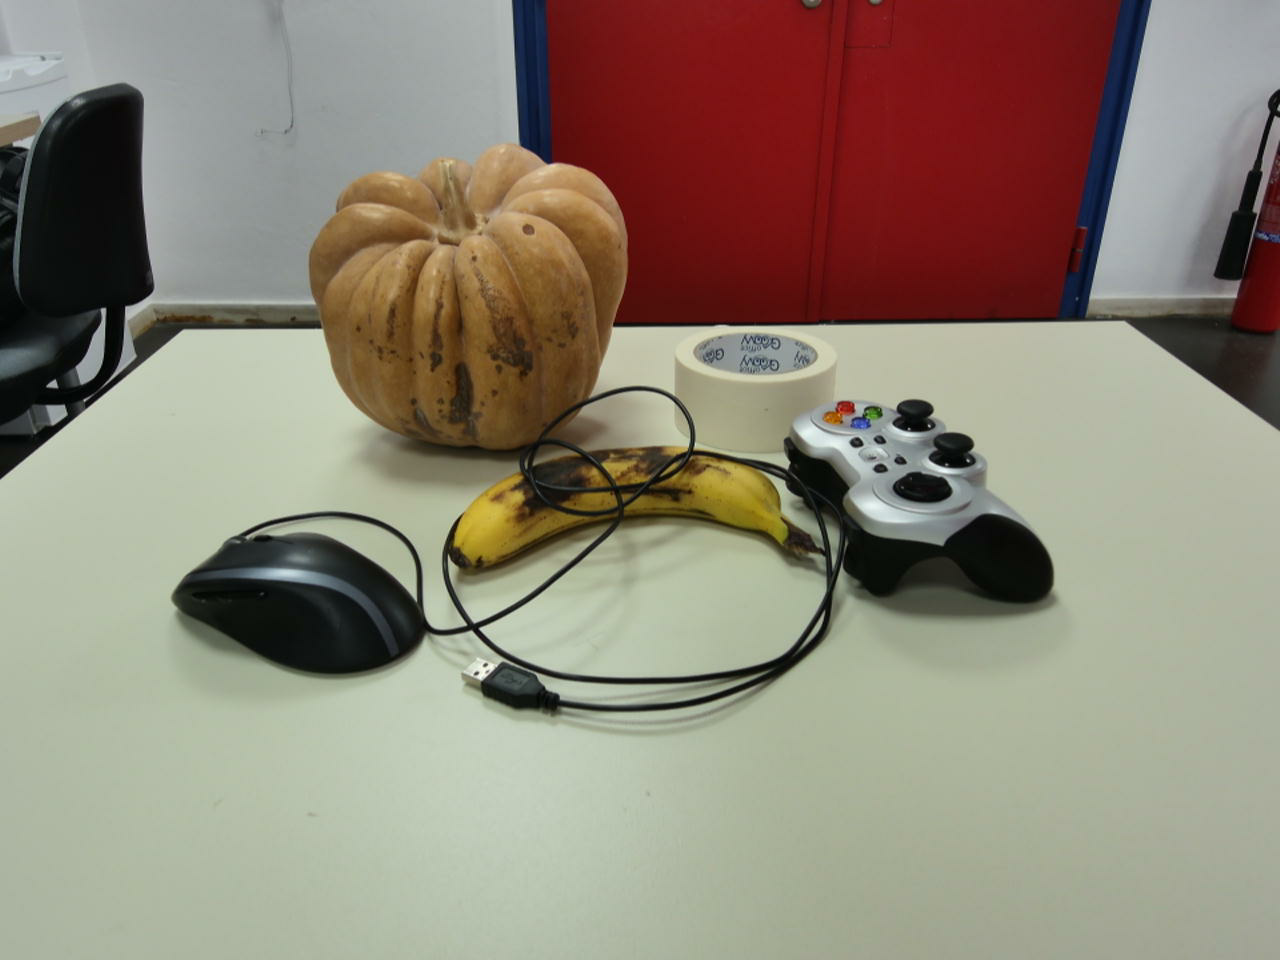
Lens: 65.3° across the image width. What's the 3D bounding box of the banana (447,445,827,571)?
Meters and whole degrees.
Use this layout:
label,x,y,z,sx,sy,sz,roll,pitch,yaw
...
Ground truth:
label,x,y,z,sx,sy,sz,roll,pitch,yaw
banana,-0.004,0.013,0.534,0.187,0.039,0.094,-1,26,-2
